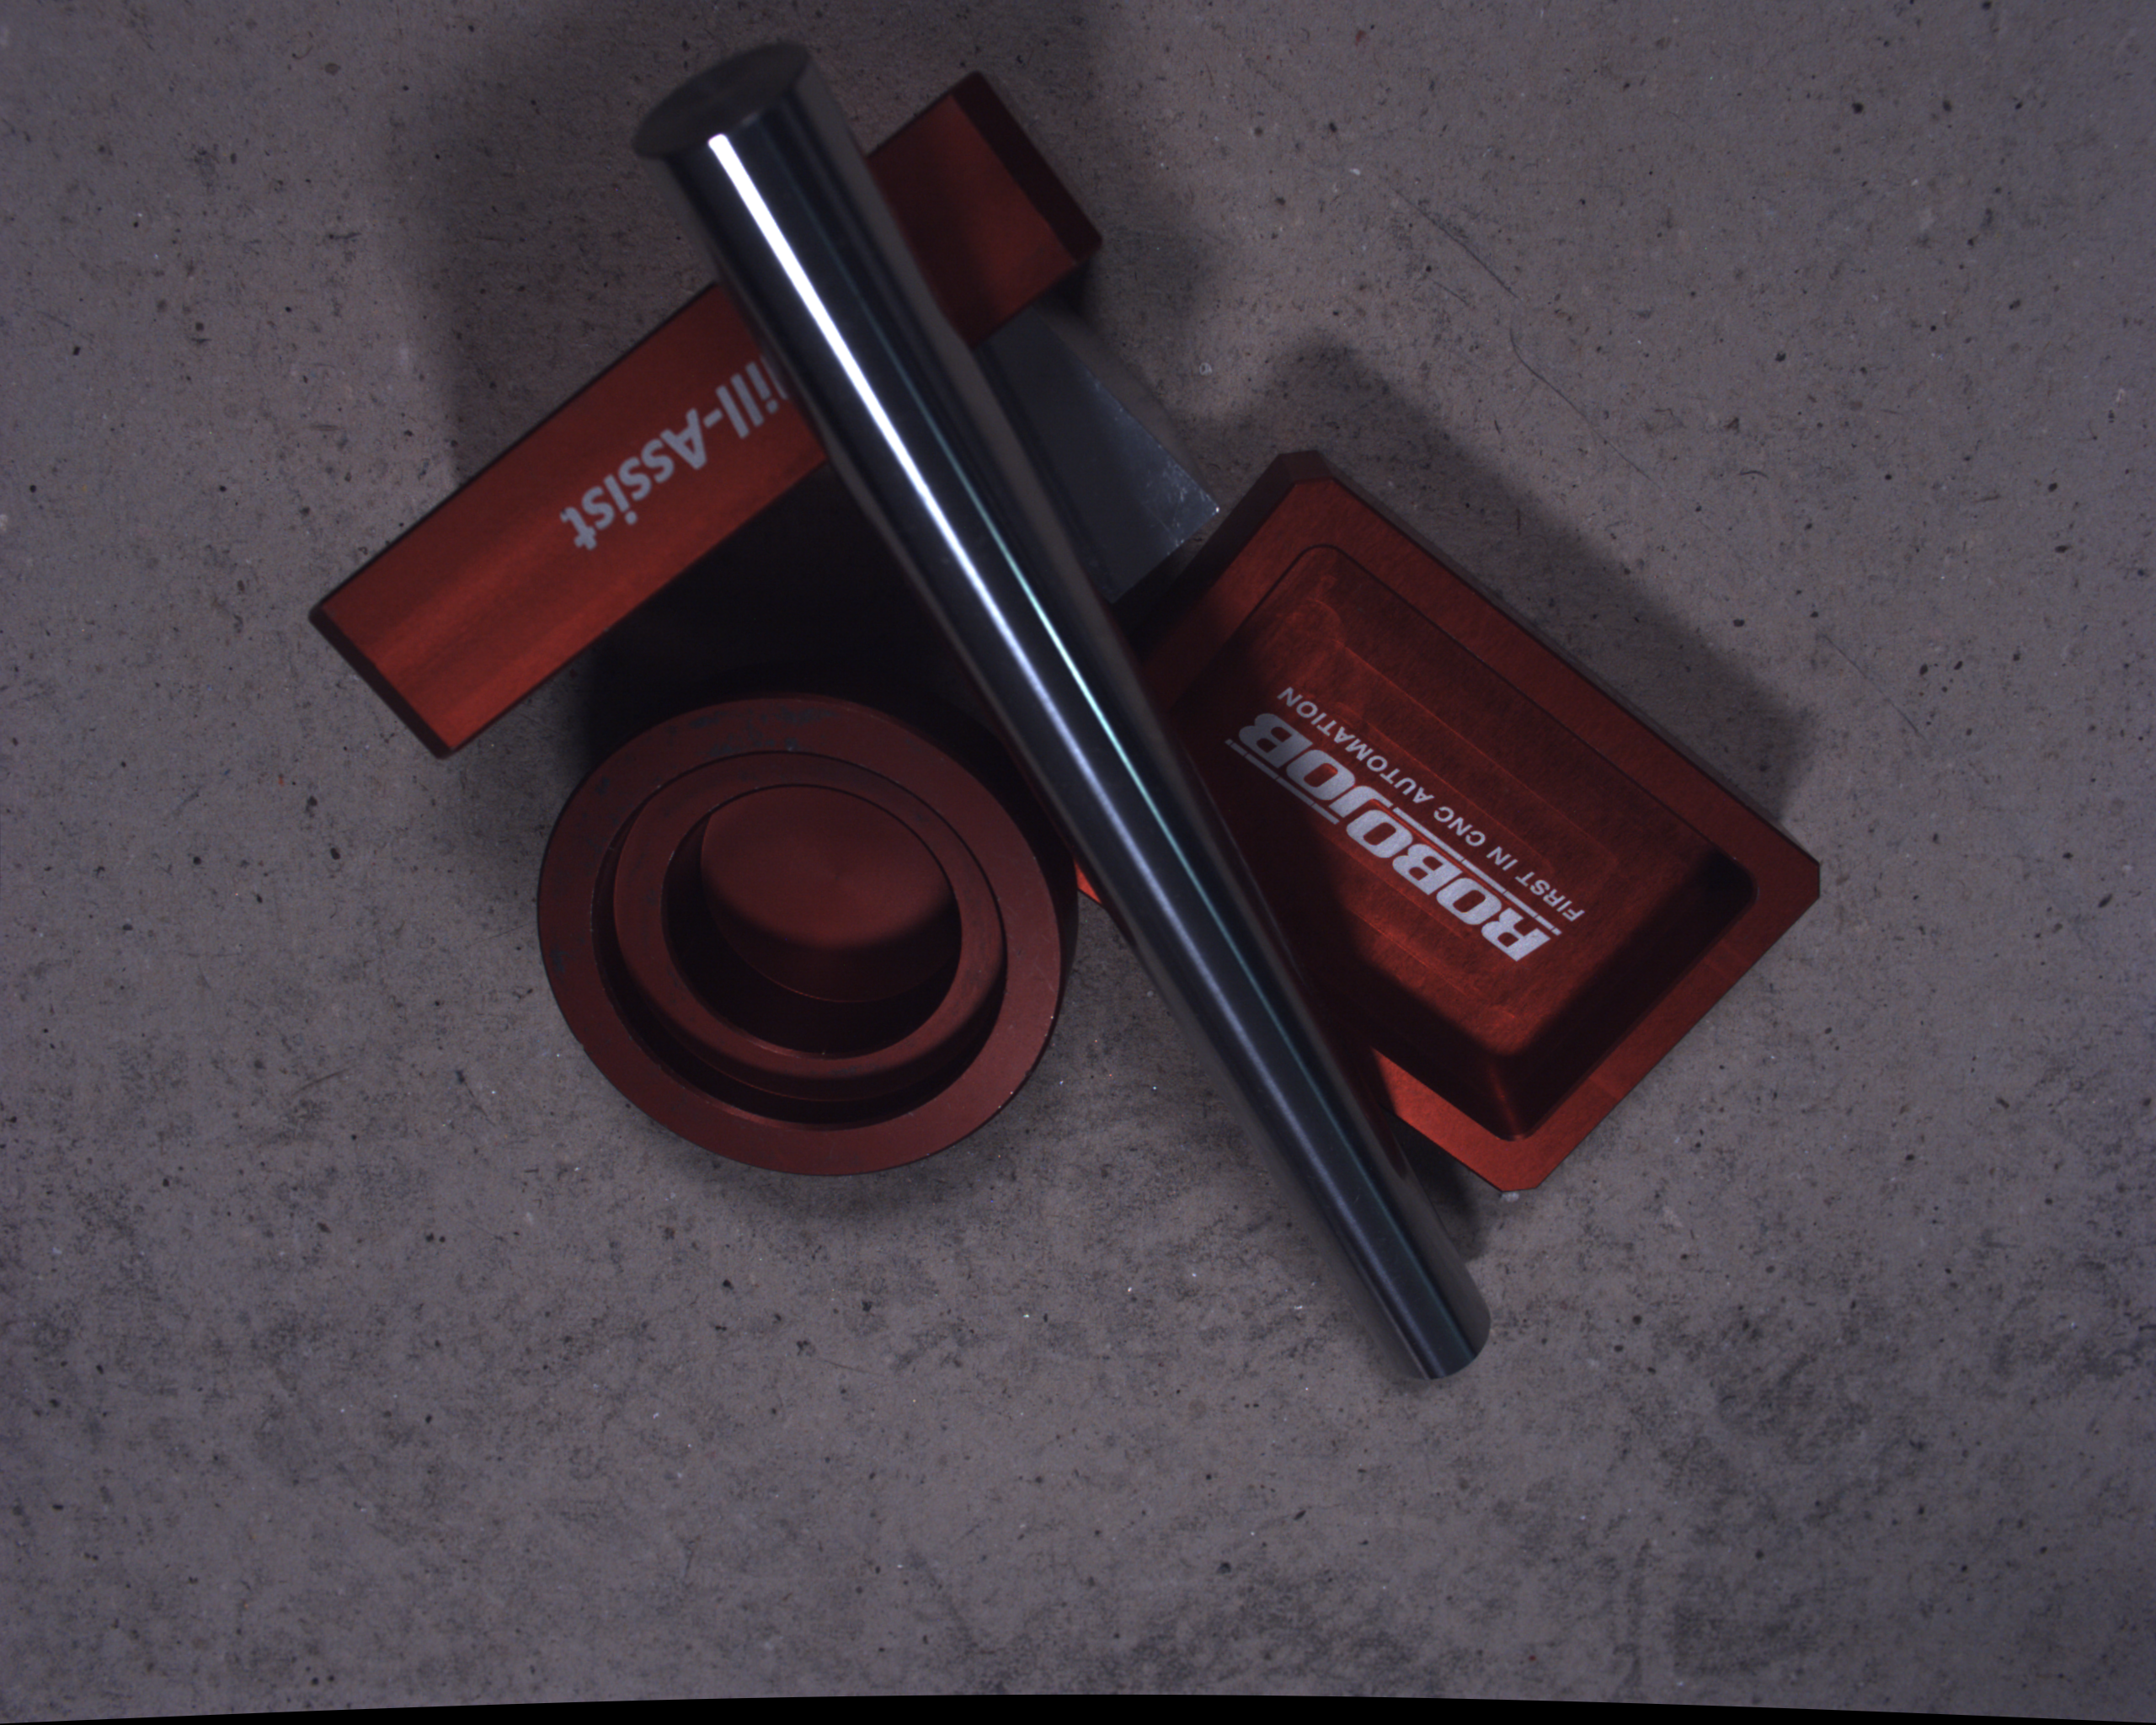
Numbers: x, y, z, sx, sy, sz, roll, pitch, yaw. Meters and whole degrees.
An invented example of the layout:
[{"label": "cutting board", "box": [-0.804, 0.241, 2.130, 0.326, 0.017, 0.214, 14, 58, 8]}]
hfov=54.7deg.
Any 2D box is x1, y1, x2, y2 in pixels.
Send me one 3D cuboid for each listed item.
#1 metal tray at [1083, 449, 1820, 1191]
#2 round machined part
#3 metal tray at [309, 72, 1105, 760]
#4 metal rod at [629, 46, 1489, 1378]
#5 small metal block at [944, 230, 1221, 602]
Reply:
[{"label": "metal tray", "box": [0.065, -0.006, 0.407, 0.130, 0.030, 0.090, 36, 106, -13]}, {"label": "round machined part", "box": [-0.049, 0.008, 0.400, 0.099, 0.042, 0.097, 2, 113, 5]}, {"label": "metal tray", "box": [-0.057, -0.077, 0.346, 0.130, 0.090, 0.030, -35, 107, 12]}, {"label": "metal rod", "box": [0.016, 0.003, 0.355, 0.025, 0.025, 0.299, -25, 130, 8]}, {"label": "small metal block", "box": [-0.005, -0.080, 0.363, 0.025, 0.050, 0.050, -40, 120, 16]}]
